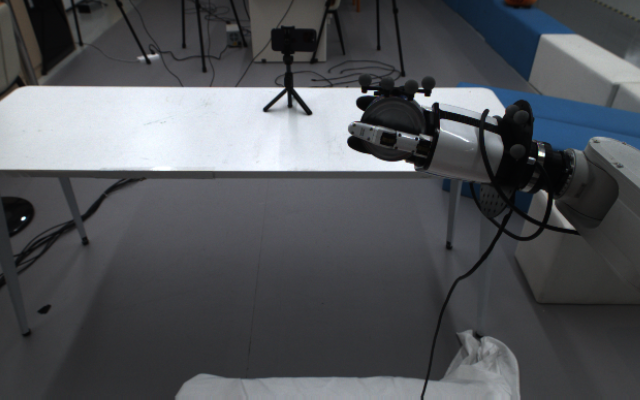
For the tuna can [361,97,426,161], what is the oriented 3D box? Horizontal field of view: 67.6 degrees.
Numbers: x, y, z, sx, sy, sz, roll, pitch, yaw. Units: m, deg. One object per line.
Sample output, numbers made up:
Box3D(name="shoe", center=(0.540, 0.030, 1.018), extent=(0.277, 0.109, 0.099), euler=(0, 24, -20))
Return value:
Box3D(name="tuna can", center=(0.096, -0.098, 0.639), extent=(0.085, 0.085, 0.034), euler=(9, 24, 10))
